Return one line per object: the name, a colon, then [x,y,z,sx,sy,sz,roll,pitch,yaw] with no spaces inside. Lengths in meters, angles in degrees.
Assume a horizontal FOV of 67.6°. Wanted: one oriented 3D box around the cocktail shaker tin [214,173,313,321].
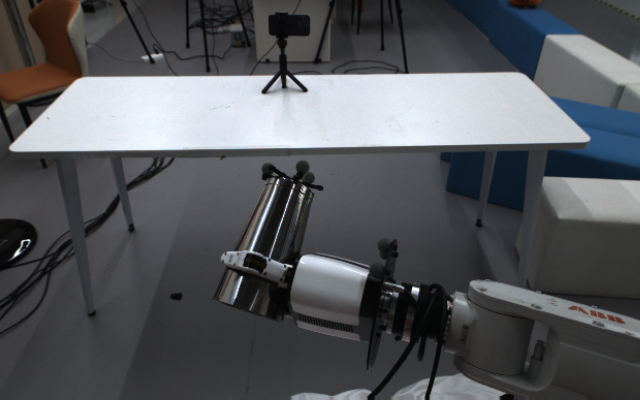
cocktail shaker tin: [-0.066,0.061,0.622,0.093,0.093,0.170,14,73,16]
